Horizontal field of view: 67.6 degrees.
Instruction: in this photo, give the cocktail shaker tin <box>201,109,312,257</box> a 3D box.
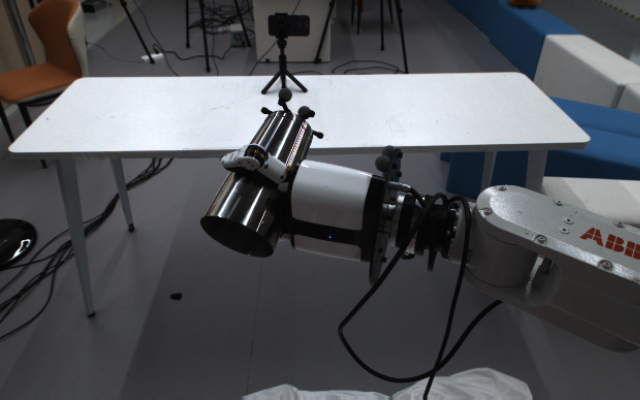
[{"bbox_3d":[-0.068,-0.025,0.594,0.093,0.093,0.170,14,61,17],"label":"cocktail shaker tin"}]
